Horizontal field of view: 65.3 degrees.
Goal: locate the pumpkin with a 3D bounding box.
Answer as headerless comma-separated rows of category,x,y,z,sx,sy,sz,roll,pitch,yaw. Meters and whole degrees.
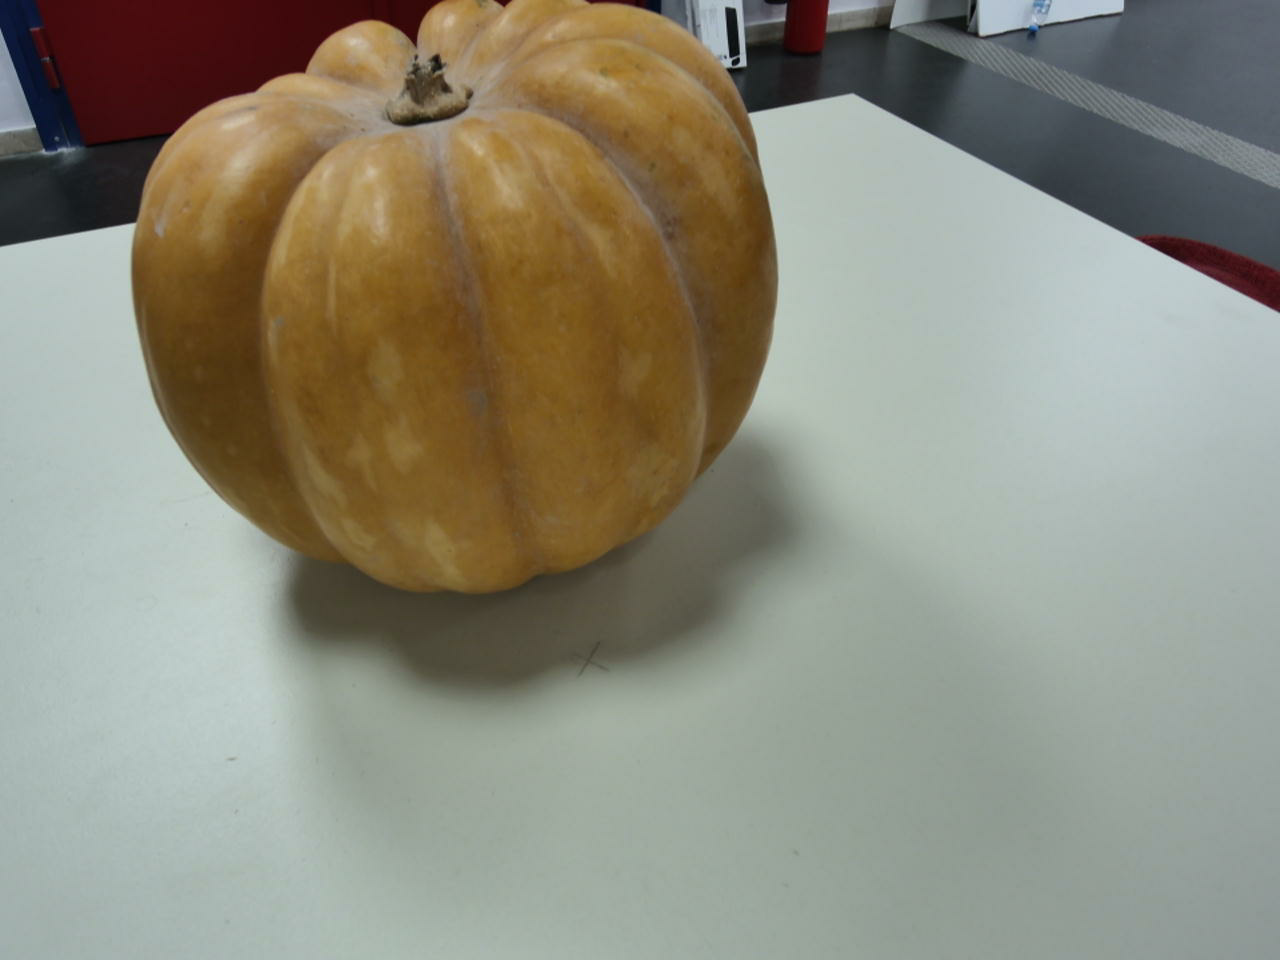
pumpkin,-0.060,-0.067,0.372,0.230,0.194,0.230,0,38,0
